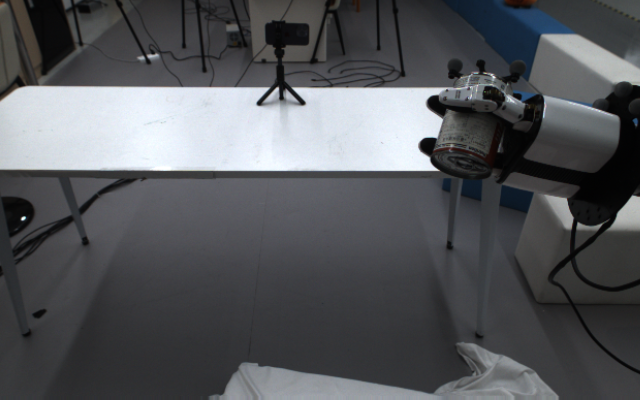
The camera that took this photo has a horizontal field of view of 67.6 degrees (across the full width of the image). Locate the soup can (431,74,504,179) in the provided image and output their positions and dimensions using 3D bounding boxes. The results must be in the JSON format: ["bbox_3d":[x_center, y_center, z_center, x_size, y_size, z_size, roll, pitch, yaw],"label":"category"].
[{"bbox_3d":[0.172,-0.084,0.546,0.067,0.067,0.101,16,75,19],"label":"soup can"}]
